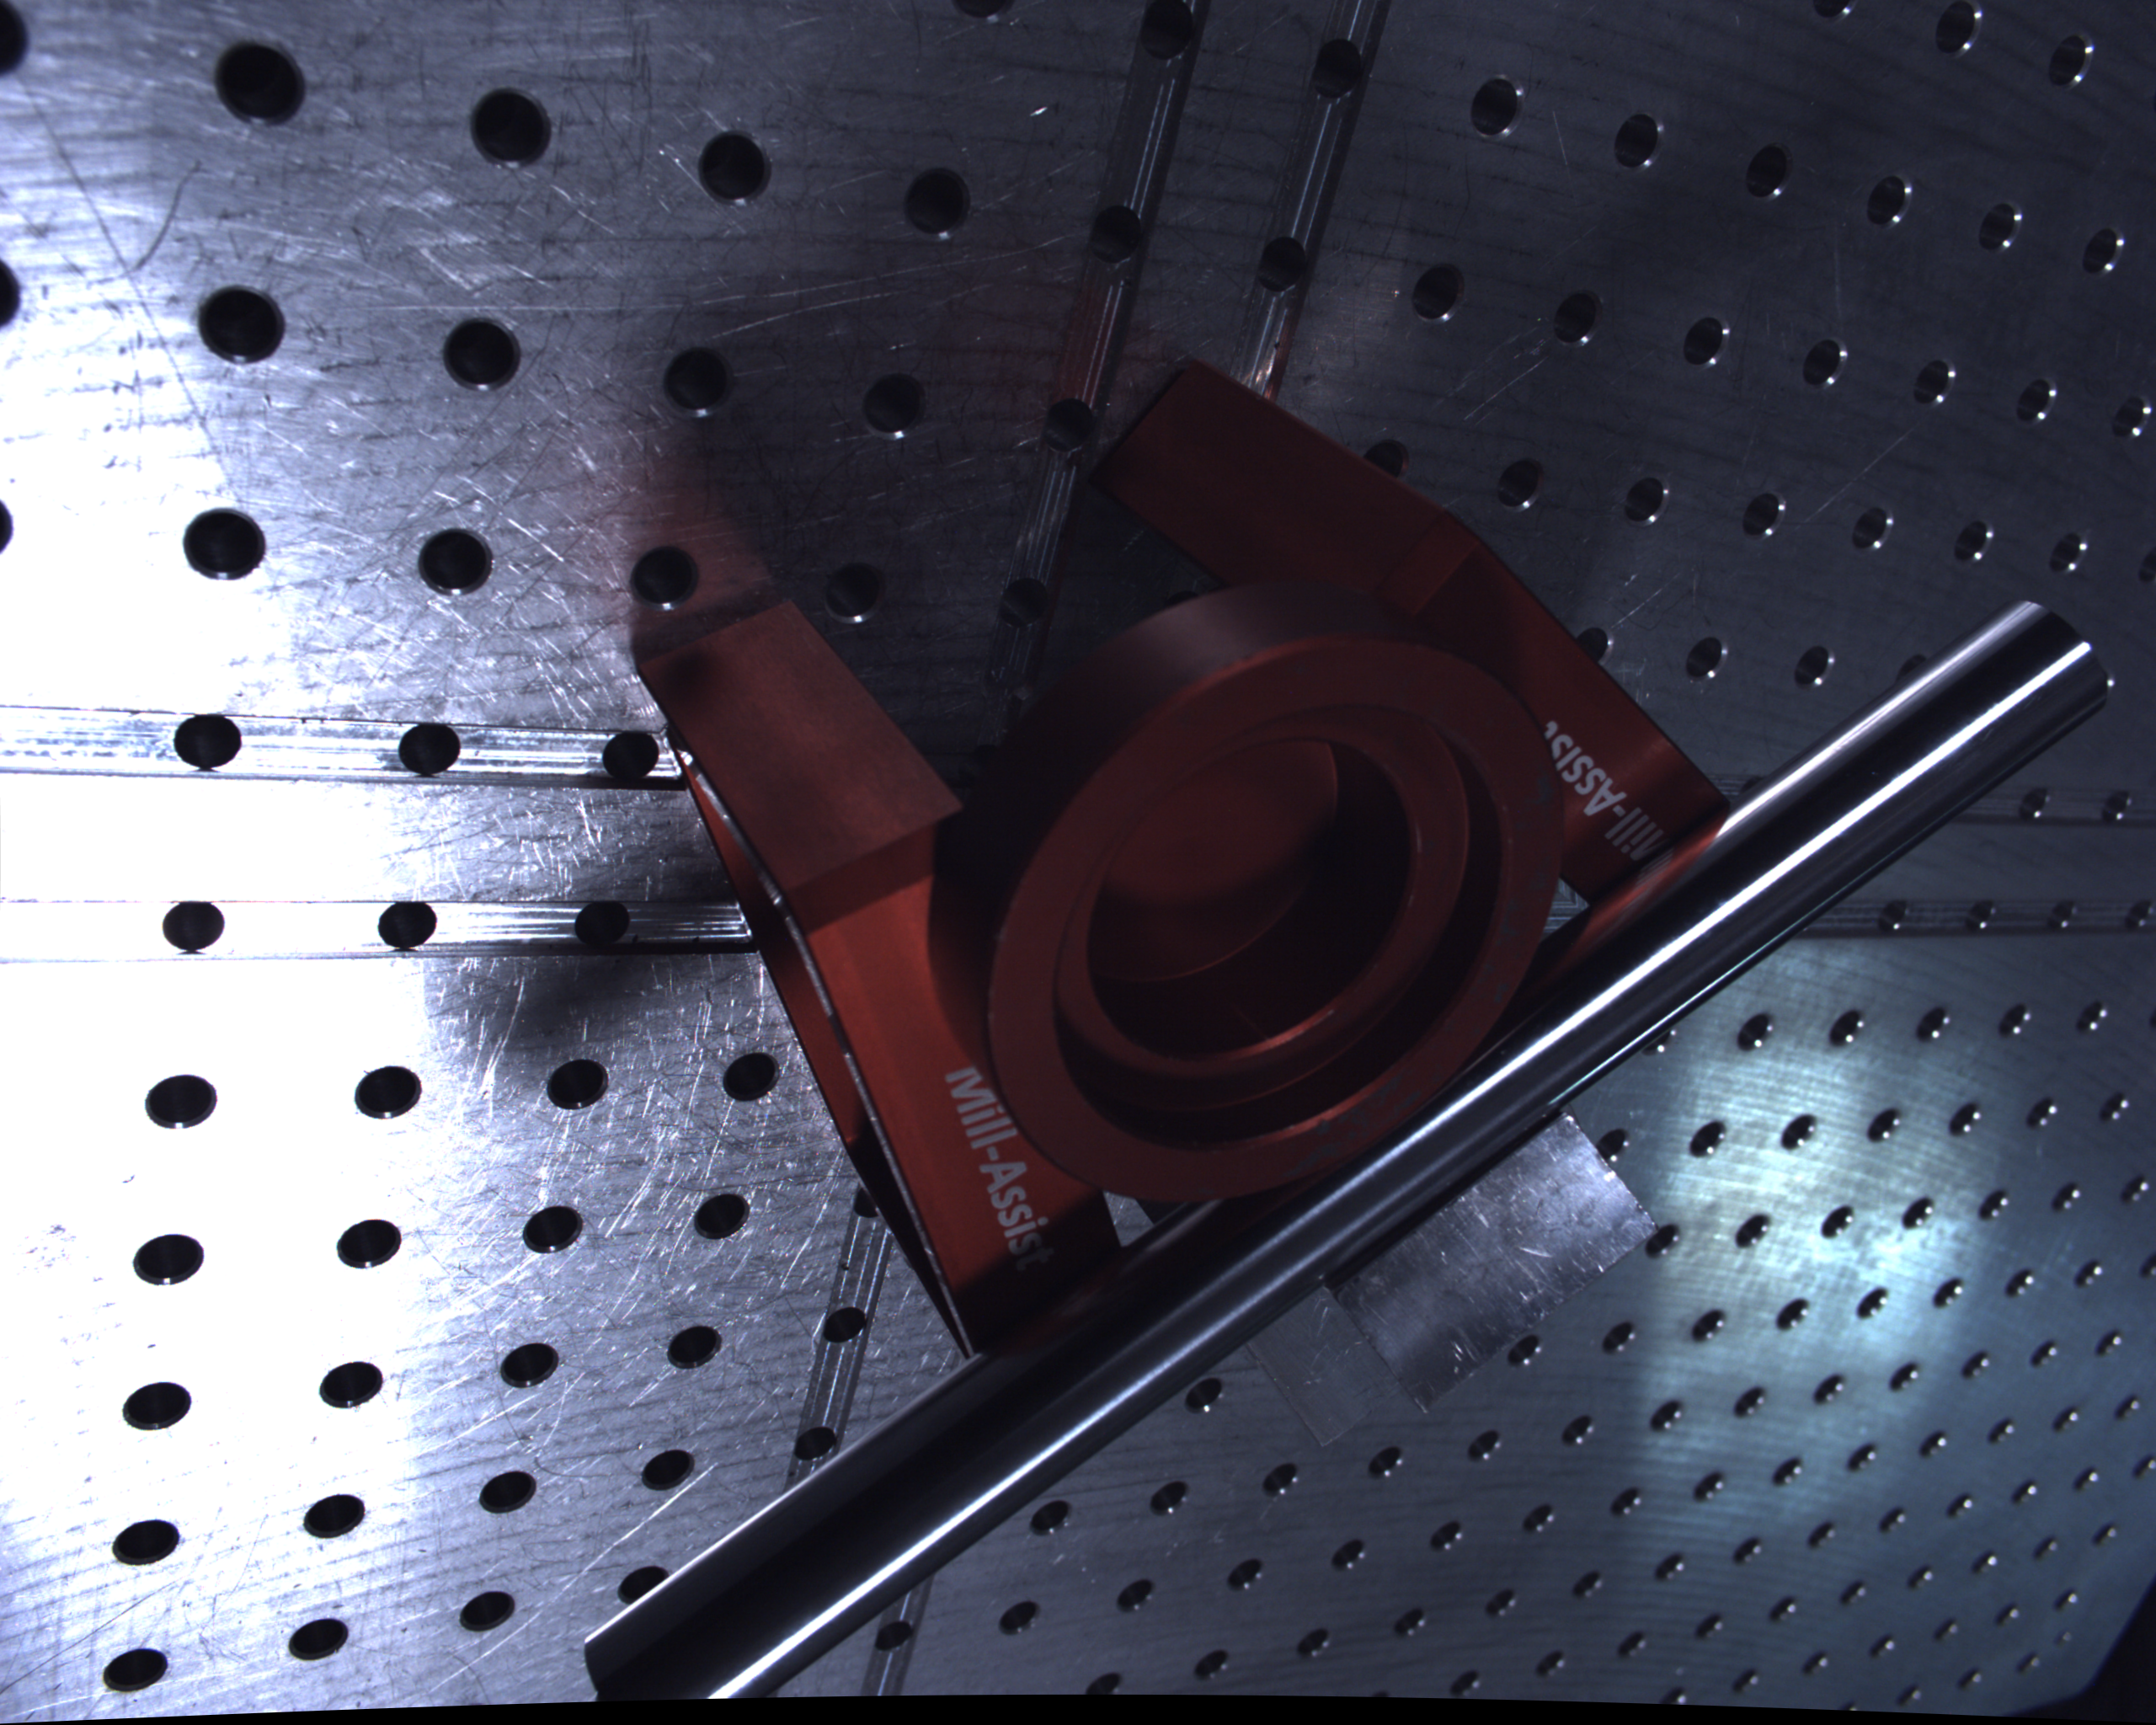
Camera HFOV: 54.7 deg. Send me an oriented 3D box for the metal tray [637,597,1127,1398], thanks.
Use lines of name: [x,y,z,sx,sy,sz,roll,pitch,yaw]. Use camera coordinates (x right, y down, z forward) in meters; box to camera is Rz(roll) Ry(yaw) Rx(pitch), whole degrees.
metal tray: [-0.031,0.028,0.370,0.030,0.090,0.129,-26,128,-12]

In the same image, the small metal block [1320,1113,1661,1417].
small metal block: [0.070,0.069,0.372,0.050,0.050,0.025,-37,85,-4]

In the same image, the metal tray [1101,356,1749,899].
metal tray: [0.071,-0.032,0.389,0.030,0.090,0.130,-49,129,7]

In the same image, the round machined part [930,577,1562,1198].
round machined part: [0.023,0.001,0.325,0.099,0.042,0.097,-14,125,-21]

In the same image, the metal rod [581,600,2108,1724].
metal rod: [0.049,0.050,0.354,0.301,0.025,0.025,-35,129,-5]

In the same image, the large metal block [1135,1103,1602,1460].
large metal block: [0.056,0.063,0.443,0.080,0.080,0.050,-36,129,-5]
